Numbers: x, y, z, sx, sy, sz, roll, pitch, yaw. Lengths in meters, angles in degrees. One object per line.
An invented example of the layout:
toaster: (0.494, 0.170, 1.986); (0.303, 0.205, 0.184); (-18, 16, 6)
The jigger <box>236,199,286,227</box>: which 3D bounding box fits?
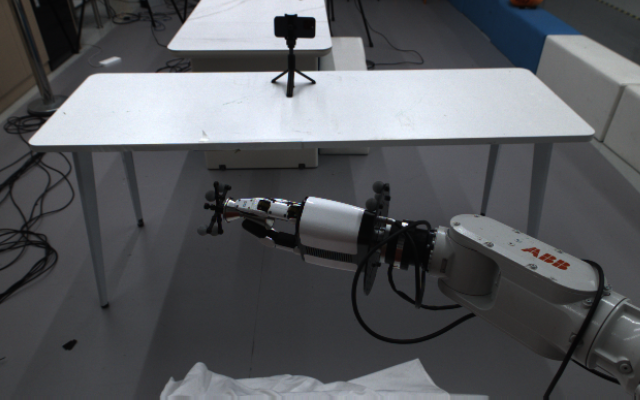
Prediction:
jigger: (-0.100, 0.015, 0.724); (0.071, 0.043, 0.043); (7, 35, 13)
